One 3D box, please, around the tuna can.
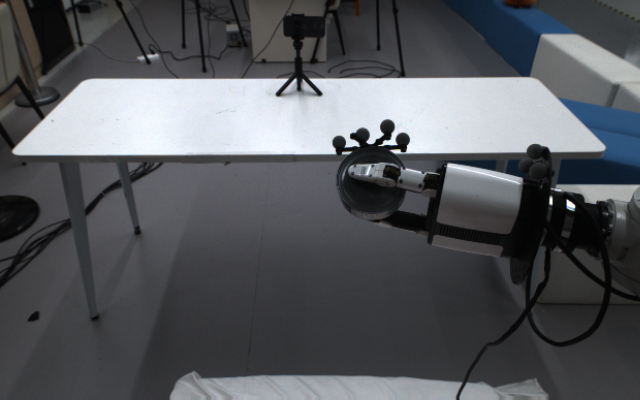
[{"bbox_3d":[0.065,-0.020,0.591,0.085,0.034,0.085,-2,69,6],"label":"tuna can"}]
